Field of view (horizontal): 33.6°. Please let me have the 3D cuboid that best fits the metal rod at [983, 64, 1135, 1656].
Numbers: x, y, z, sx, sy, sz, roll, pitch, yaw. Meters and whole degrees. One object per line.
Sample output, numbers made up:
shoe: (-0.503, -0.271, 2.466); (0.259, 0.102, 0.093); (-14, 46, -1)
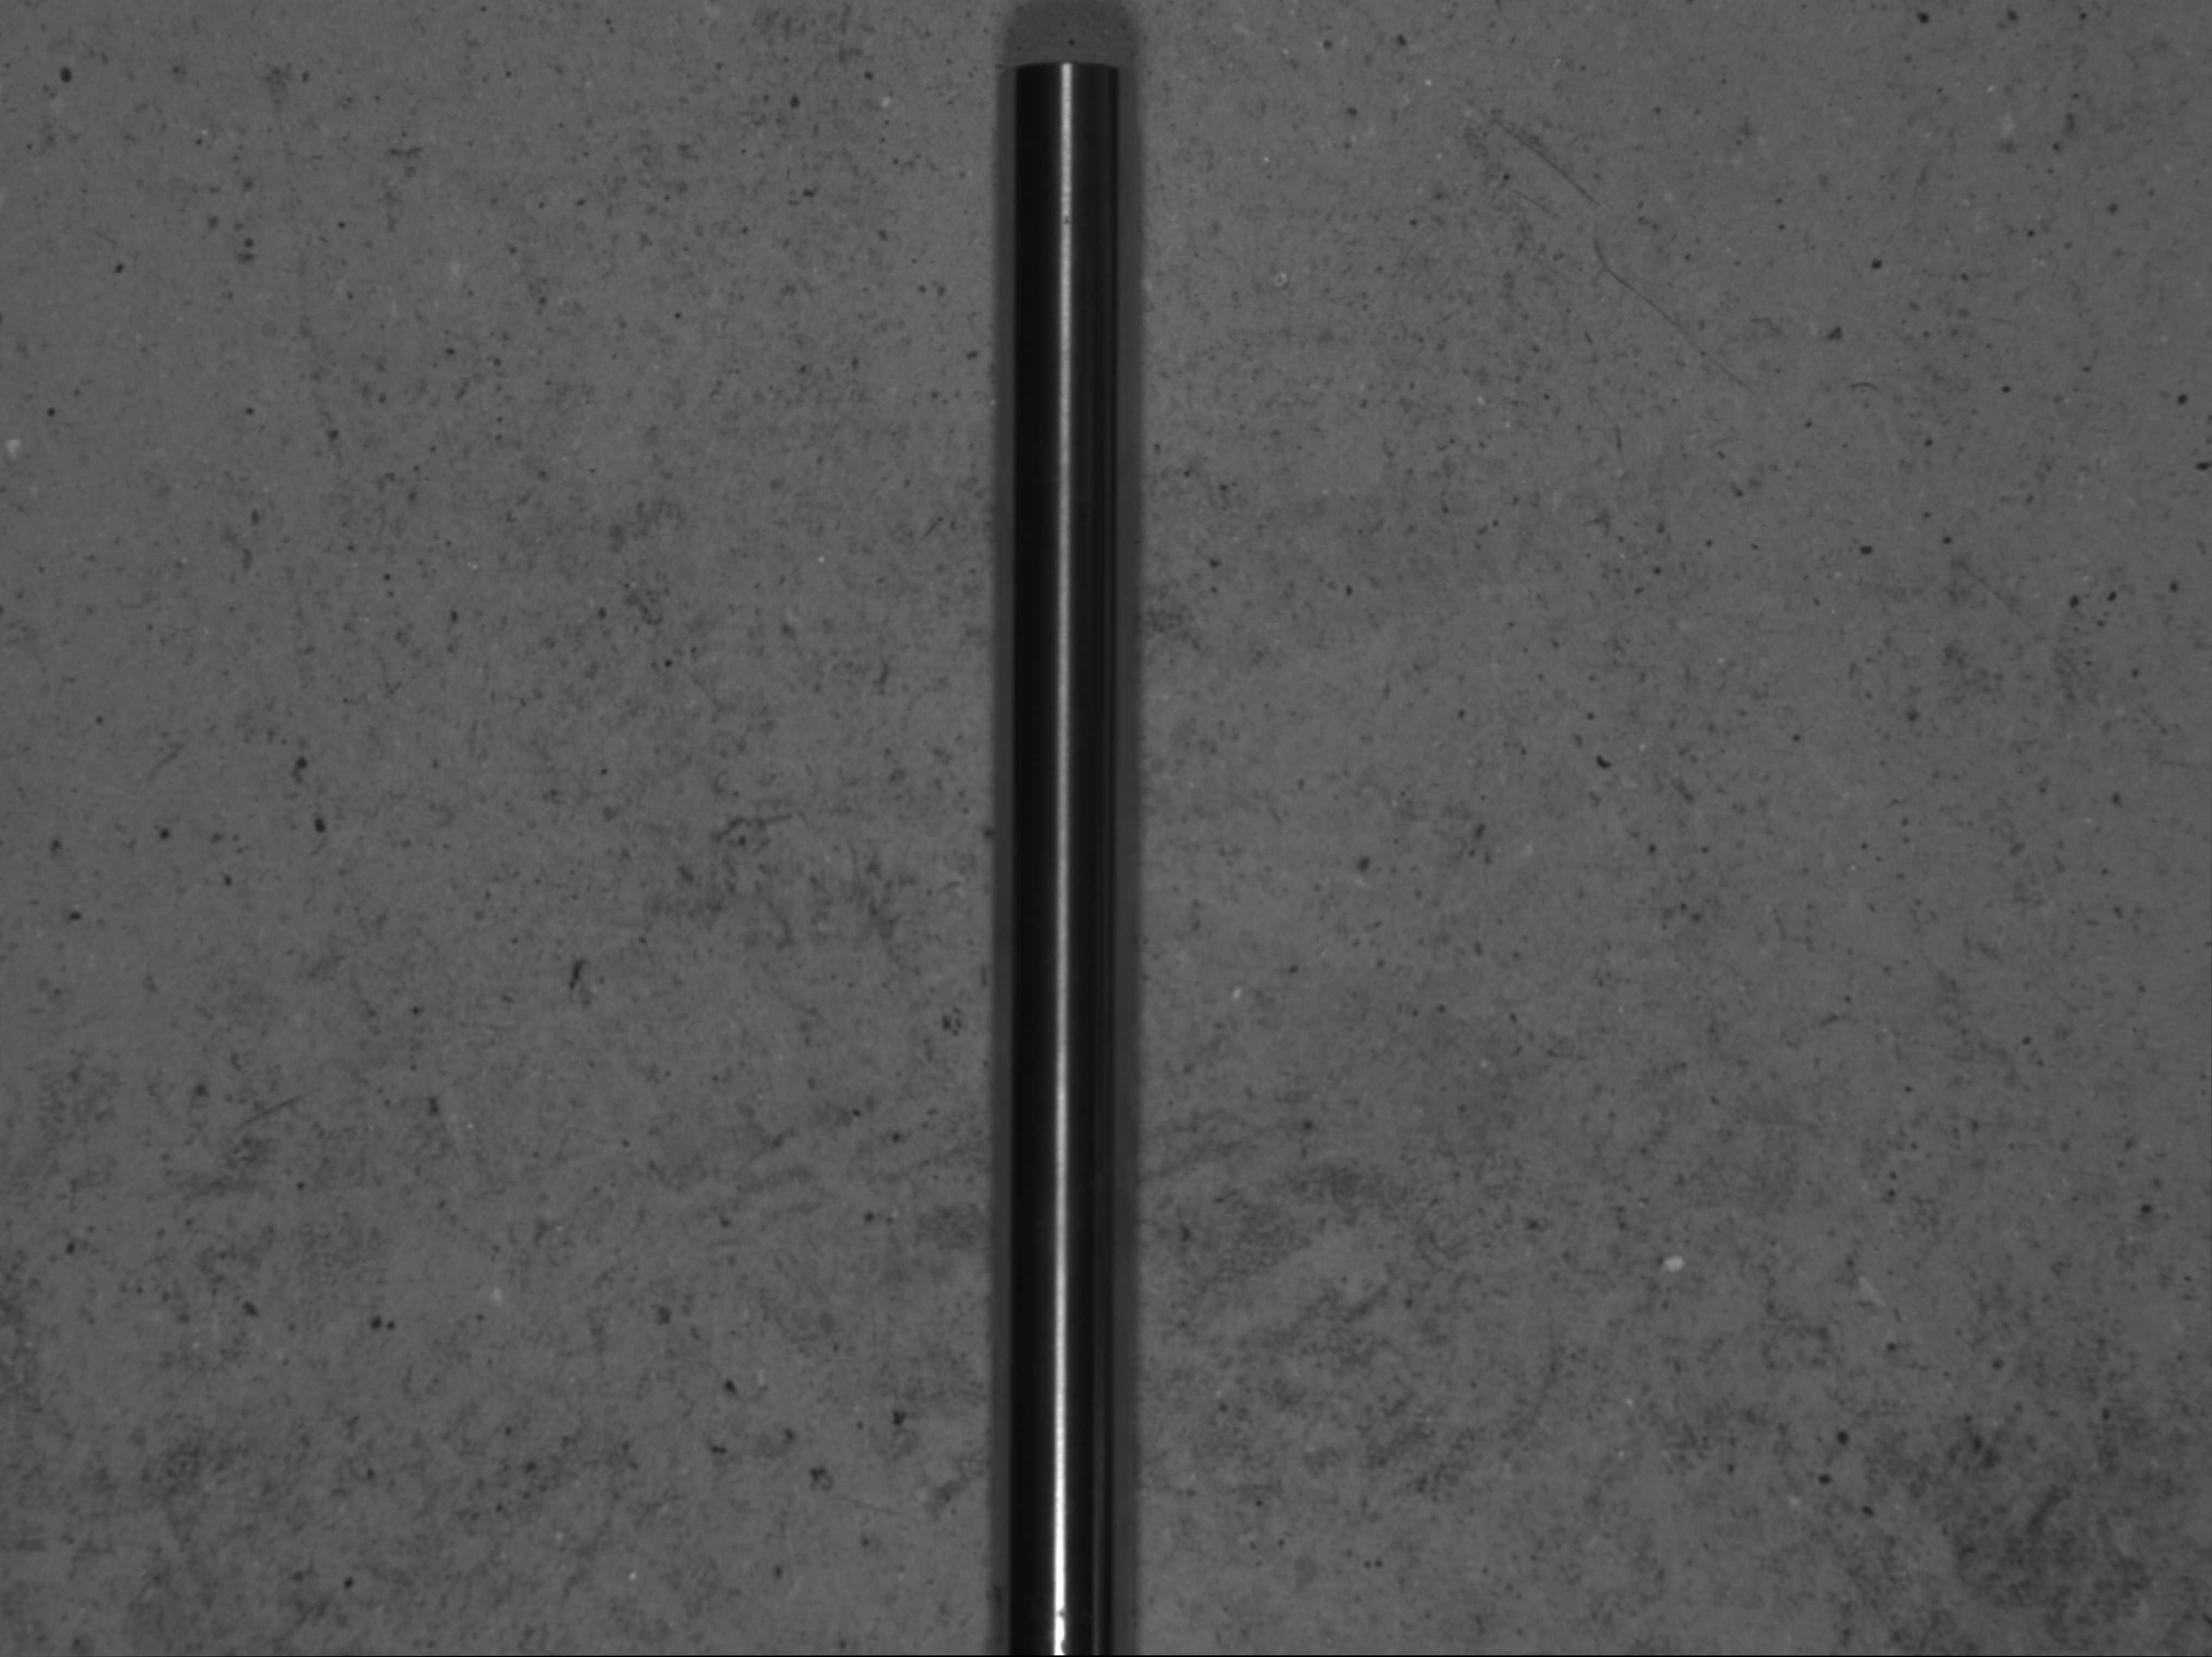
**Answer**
metal rod: (-0.008, 0.018, 0.645); (0.025, 0.025, 0.300); (0, 90, 0)
